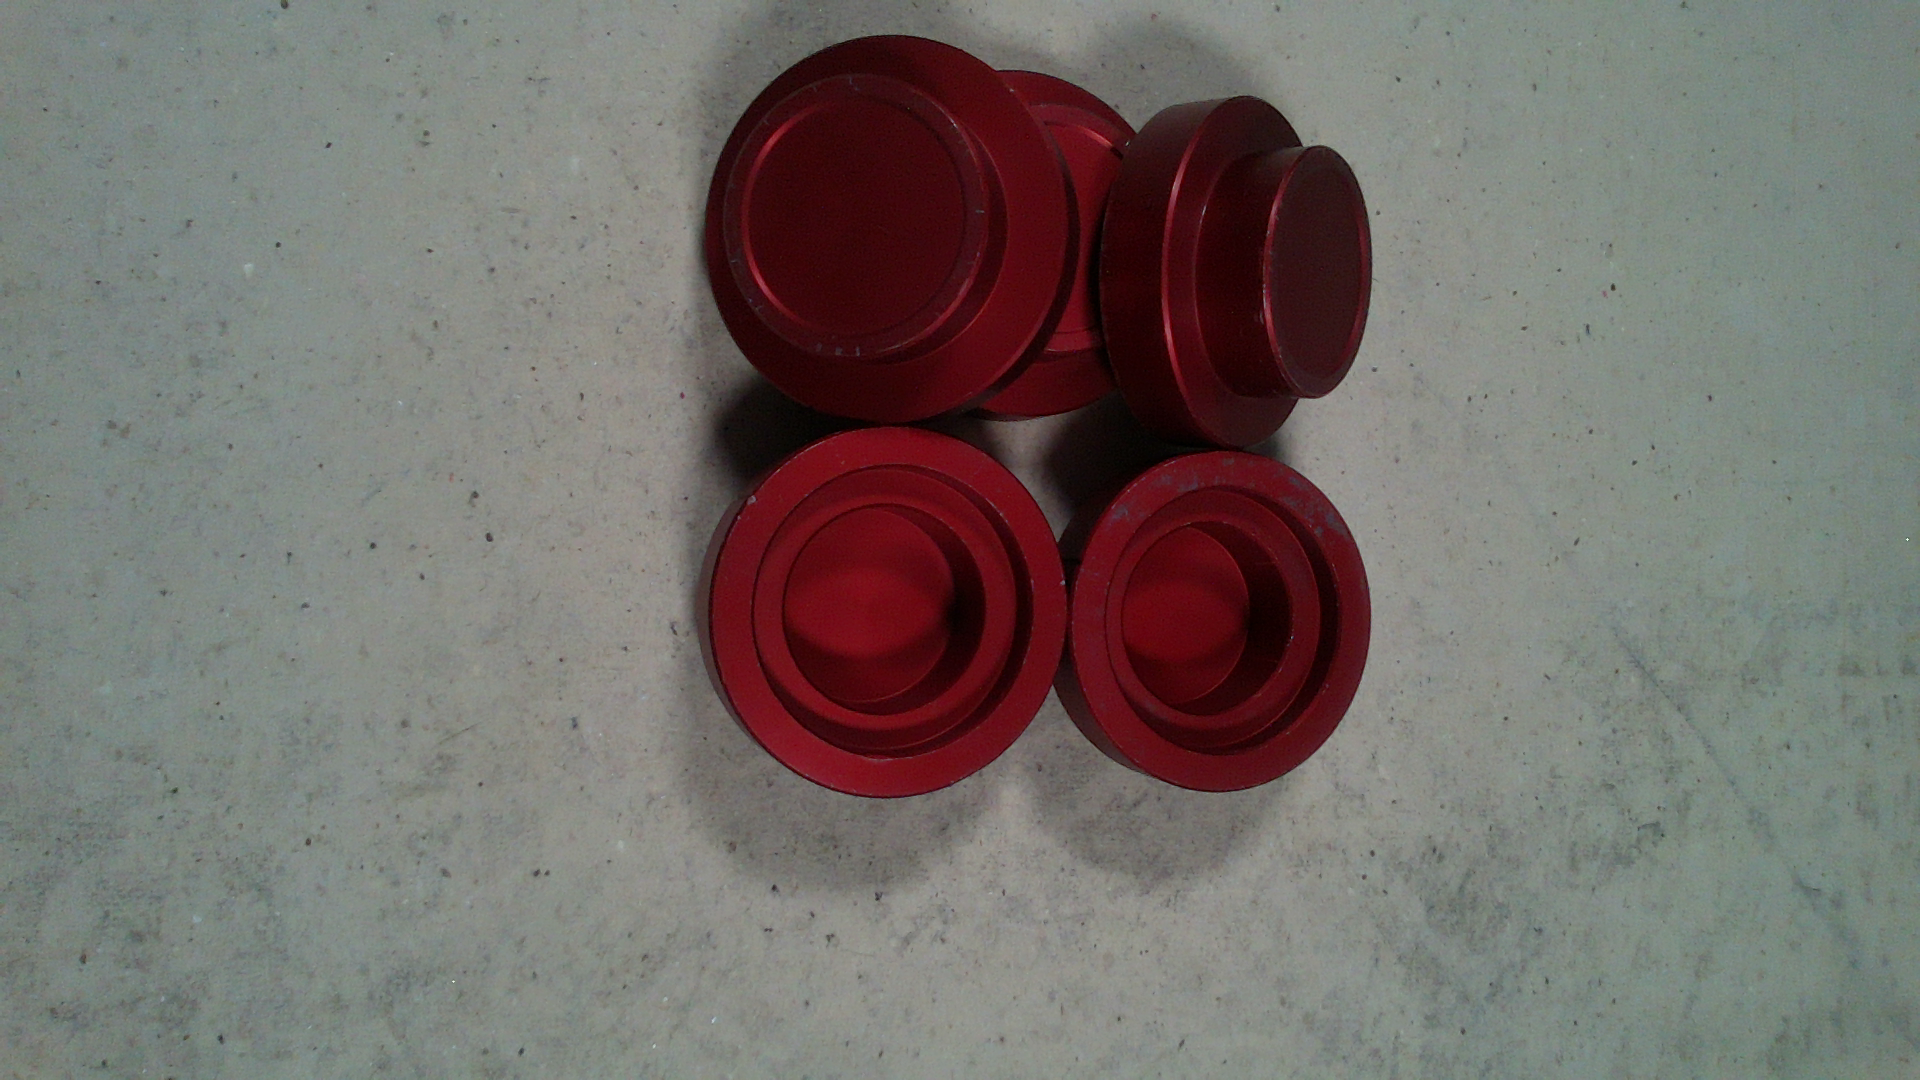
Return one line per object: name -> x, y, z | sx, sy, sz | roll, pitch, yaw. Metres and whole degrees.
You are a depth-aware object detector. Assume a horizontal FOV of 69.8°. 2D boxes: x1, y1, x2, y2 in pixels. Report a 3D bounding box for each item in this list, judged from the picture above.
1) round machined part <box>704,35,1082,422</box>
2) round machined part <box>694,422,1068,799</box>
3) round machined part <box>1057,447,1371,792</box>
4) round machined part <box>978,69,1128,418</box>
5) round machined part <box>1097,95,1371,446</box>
round machined part -> -0.021, -0.079, 0.352 | 0.098, 0.042, 0.098 | 1, 93, 13
round machined part -> -0.024, 0.018, 0.376 | 0.098, 0.042, 0.098 | 0, 90, -20
round machined part -> 0.069, 0.023, 0.410 | 0.098, 0.042, 0.098 | 0, 90, -20
round machined part -> 0.020, -0.085, 0.391 | 0.098, 0.042, 0.098 | 0, 90, -20
round machined part -> 0.083, -0.076, 0.392 | 0.098, 0.042, 0.098 | -10, 103, -50
